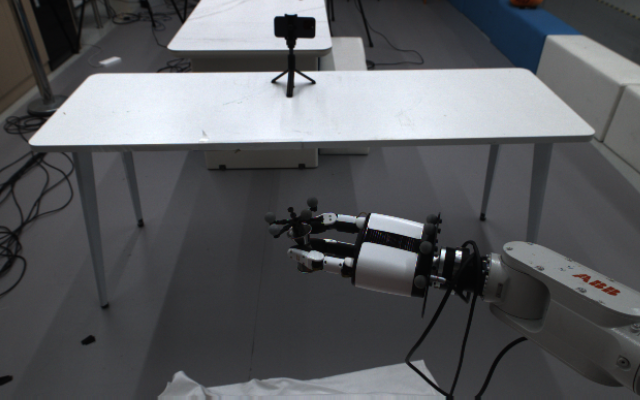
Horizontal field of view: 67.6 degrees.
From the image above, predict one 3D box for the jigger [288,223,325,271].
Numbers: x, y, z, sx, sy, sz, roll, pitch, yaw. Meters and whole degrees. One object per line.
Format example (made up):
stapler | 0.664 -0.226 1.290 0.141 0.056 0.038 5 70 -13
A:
jigger | -0.023 0.074 0.756 0.043 0.071 0.043 -12 29 7
